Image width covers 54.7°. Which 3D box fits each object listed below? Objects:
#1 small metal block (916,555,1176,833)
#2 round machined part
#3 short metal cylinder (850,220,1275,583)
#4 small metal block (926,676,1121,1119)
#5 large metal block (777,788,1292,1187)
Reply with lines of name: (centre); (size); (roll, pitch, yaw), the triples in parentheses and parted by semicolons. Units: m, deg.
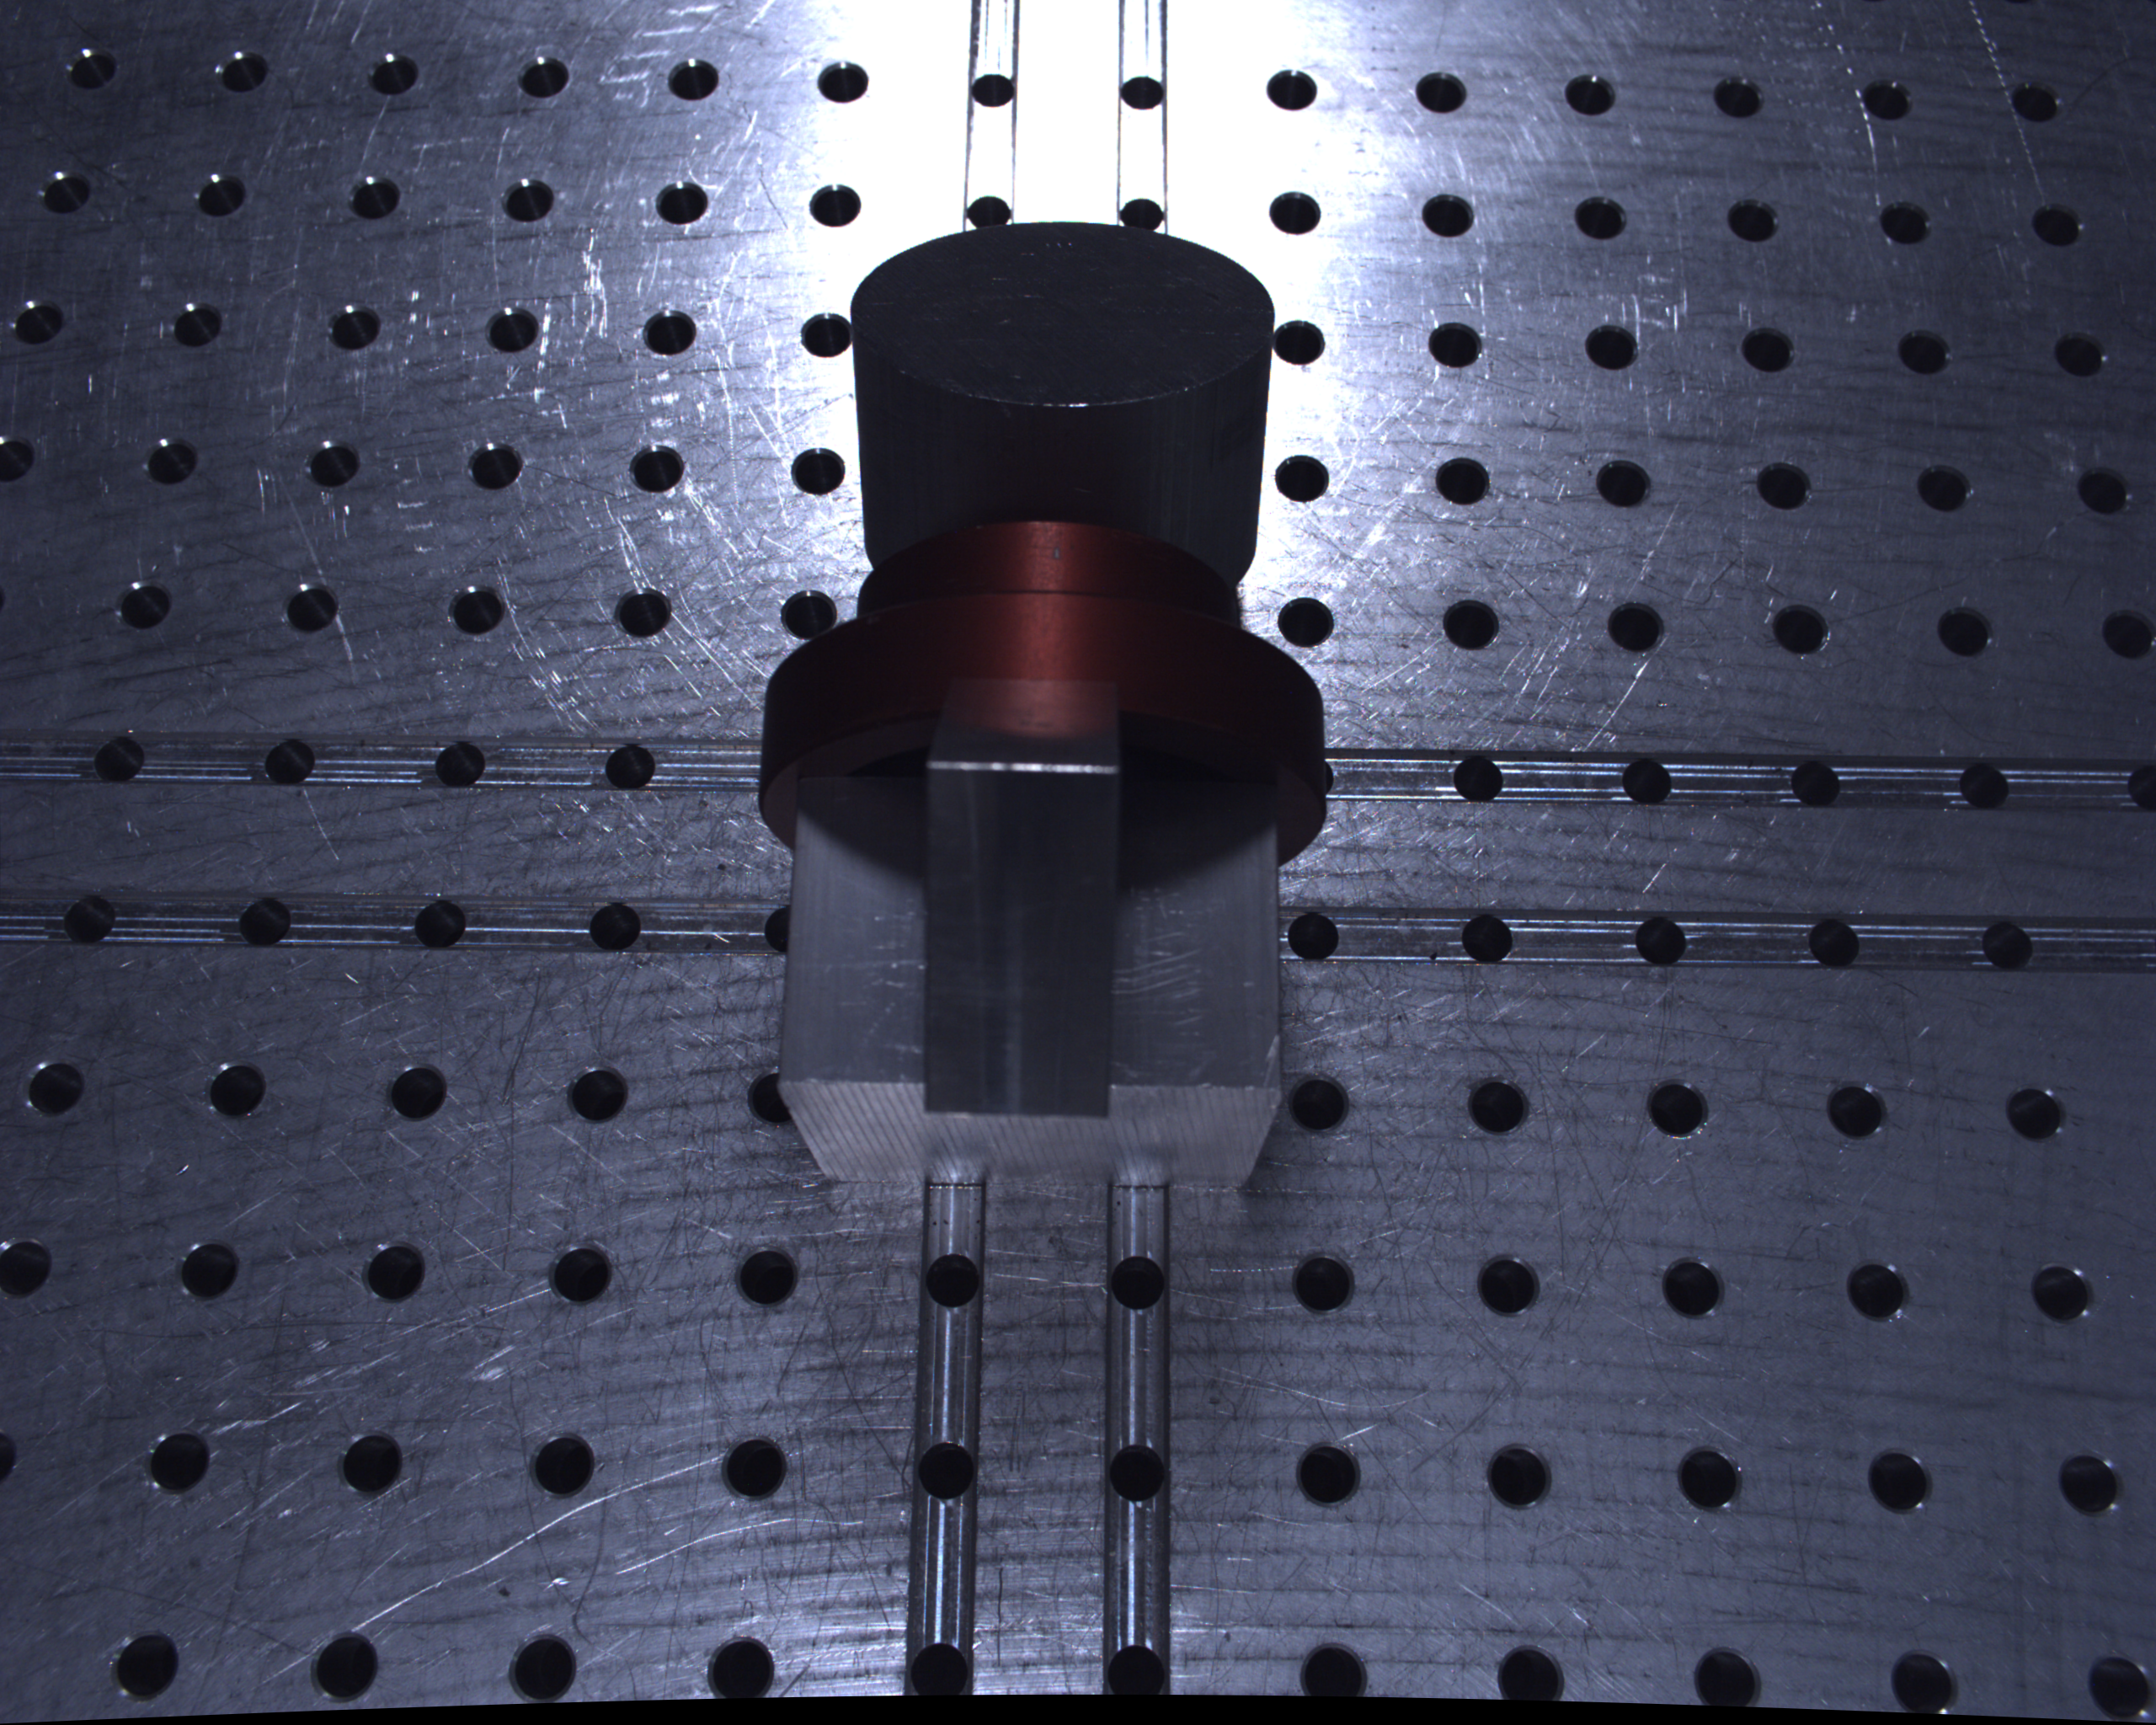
small metal block: (-0.006, -0.034, 0.423); (0.050, 0.025, 0.050); (1, 70, 0)
round machined part: (-0.006, -0.026, 0.371); (0.099, 0.098, 0.042); (1, 70, 0)
short metal cylinder: (-0.003, -0.087, 0.412); (0.081, 0.050, 0.080); (1, 40, -1)
small metal block: (-0.008, 0.003, 0.301); (0.025, 0.050, 0.050); (1, 108, 0)
large metal block: (-0.007, 0.025, 0.372); (0.081, 0.080, 0.050); (1, 70, 0)
